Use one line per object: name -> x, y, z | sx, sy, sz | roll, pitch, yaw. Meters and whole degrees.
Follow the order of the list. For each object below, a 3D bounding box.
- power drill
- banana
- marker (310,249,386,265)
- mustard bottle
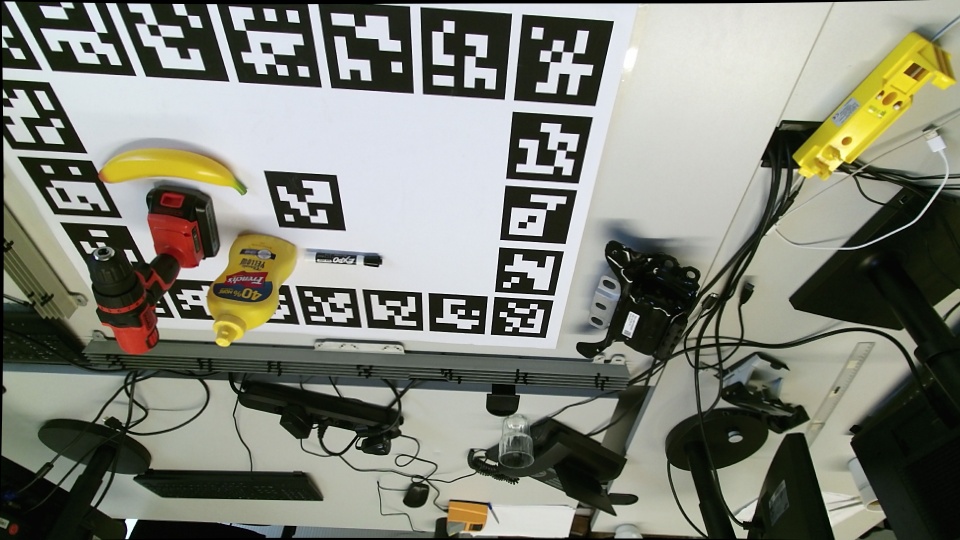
power drill -> -0.447, -0.021, 0.749 | 0.057, 0.186, 0.184 | 14, 132, -8
banana -> -0.431, -0.149, 0.764 | 0.198, 0.038, 0.074 | 8, 129, -7
marker -> -0.216, -0.021, 0.878 | 0.121, 0.019, 0.019 | 4, 130, -2
mustard bottle -> -0.344, 0.022, 0.805 | 0.096, 0.190, 0.058 | 12, 130, -7
